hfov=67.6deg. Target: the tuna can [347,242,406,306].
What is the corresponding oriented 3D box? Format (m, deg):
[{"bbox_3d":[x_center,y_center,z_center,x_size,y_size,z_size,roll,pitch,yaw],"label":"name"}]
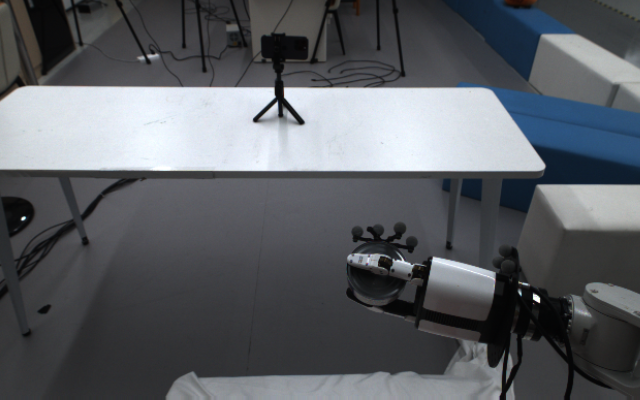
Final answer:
[{"bbox_3d":[0.081,0.098,0.673,0.085,0.034,0.085,-2,56,3],"label":"tuna can"}]
